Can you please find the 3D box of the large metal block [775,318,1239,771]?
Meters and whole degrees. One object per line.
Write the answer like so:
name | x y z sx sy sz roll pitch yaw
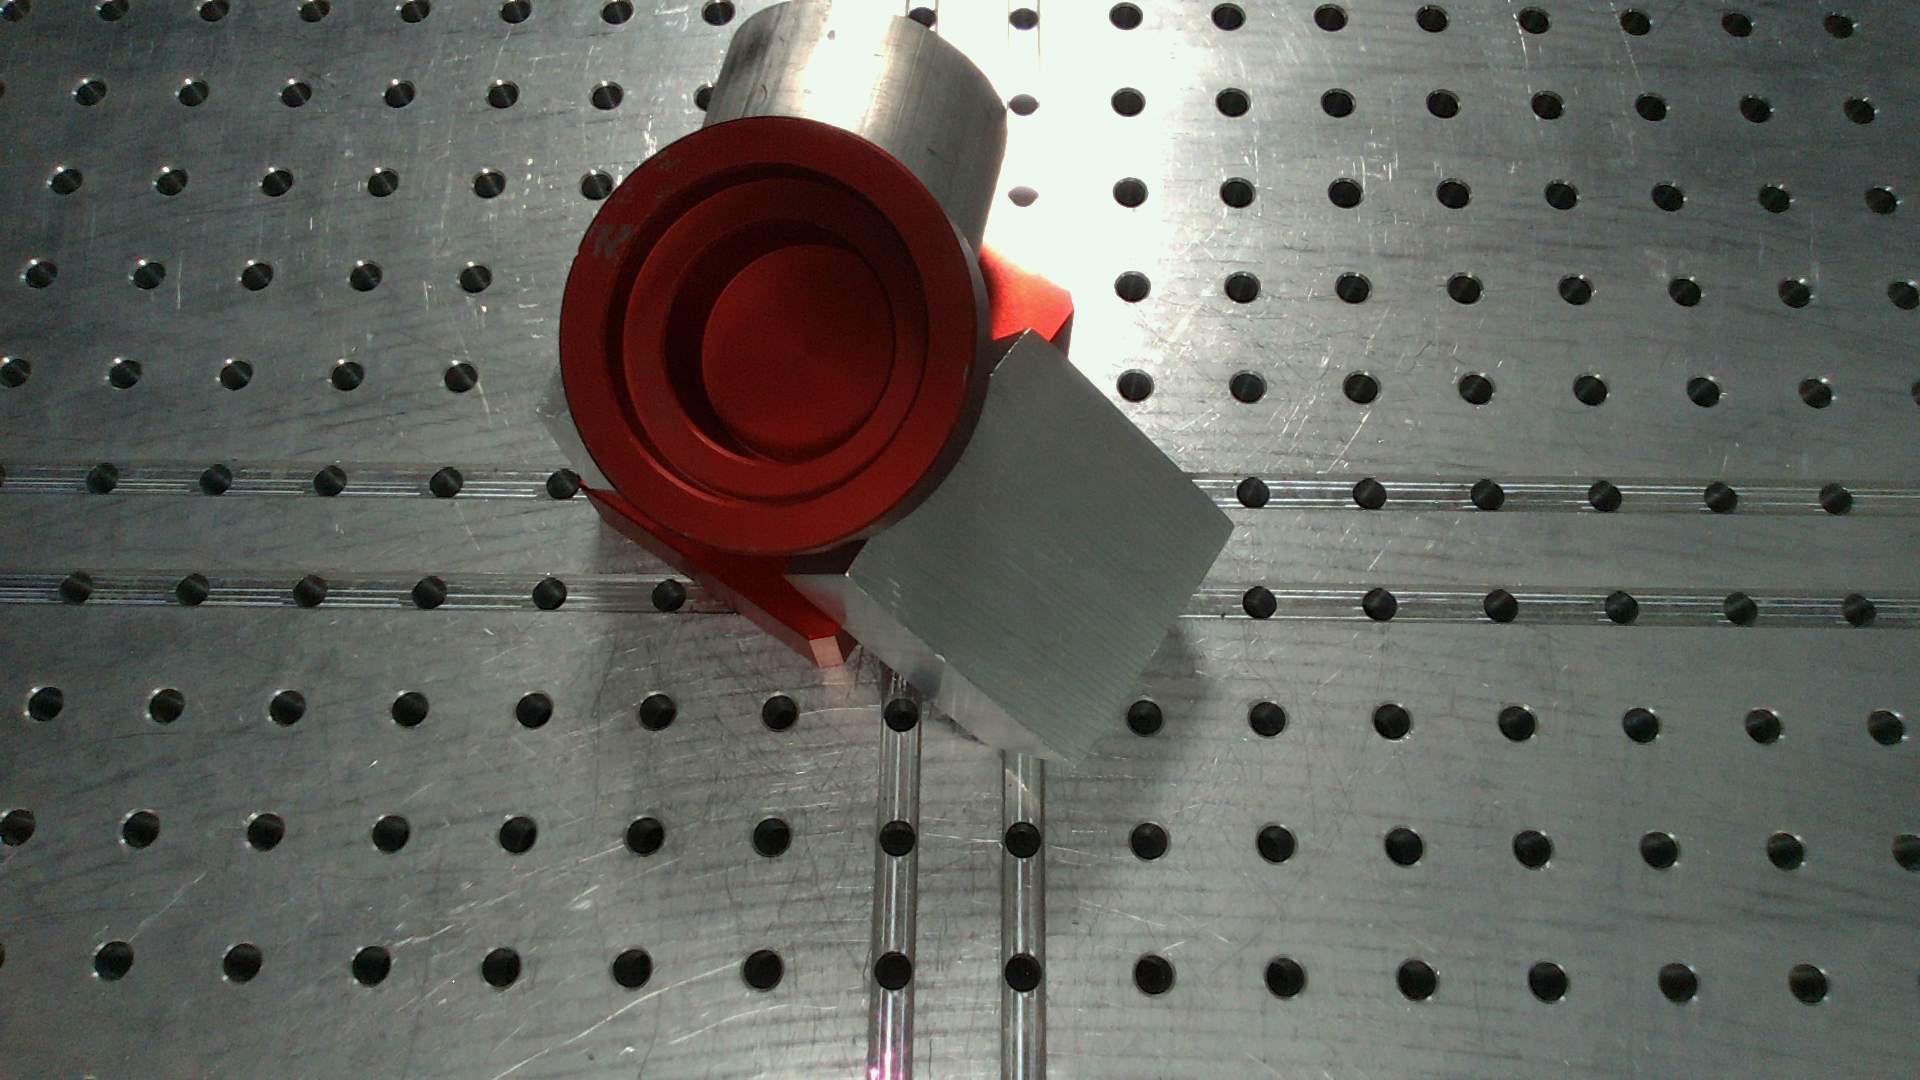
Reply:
large metal block | 0.013 0.002 0.364 0.080 0.050 0.080 41 72 -18

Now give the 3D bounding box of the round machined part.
round machined part | -0.040 -0.046 0.325 0.098 0.042 0.098 0 90 11

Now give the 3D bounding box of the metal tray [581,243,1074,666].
metal tray | -0.037 -0.040 0.410 0.090 0.030 0.130 33 73 11

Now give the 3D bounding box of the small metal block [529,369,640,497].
small metal block | -0.085 -0.042 0.365 0.025 0.050 0.050 18 71 7

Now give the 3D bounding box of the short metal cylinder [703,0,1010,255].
short metal cylinder | -0.031 -0.097 0.371 0.080 0.080 0.050 12 70 5
